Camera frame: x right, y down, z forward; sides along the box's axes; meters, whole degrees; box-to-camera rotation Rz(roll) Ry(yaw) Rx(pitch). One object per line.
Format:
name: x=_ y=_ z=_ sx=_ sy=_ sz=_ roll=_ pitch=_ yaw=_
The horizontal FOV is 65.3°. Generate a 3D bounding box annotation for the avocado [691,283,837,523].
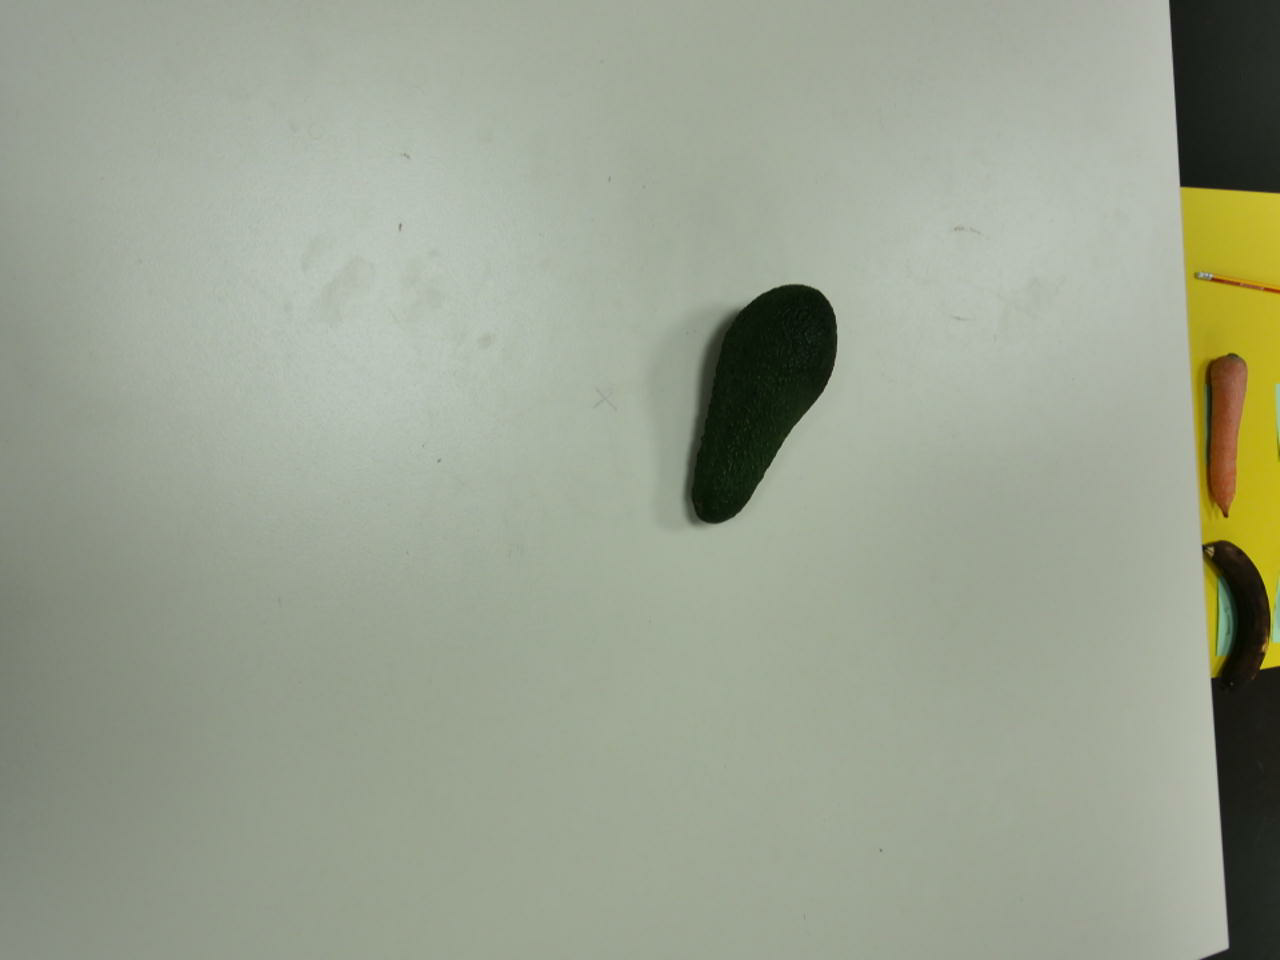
avocado: x=0.072 y=-0.041 z=0.557 sx=0.063 sy=0.067 sz=0.141 roll=11 pitch=87 yaw=-22
